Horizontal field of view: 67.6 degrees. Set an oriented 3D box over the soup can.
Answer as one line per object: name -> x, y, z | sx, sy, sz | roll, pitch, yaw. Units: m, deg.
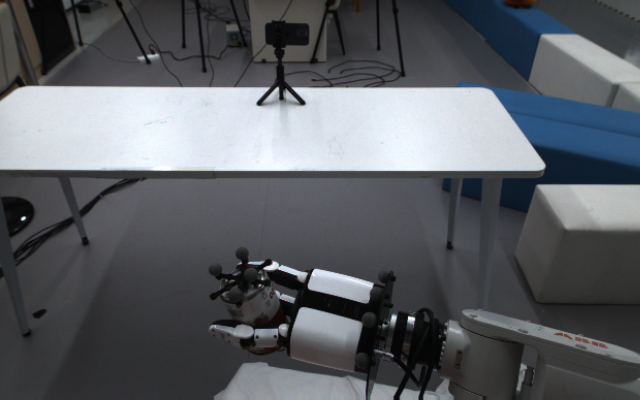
soup can -> -0.082, 0.147, 0.641 | 0.067, 0.101, 0.067 | -14, 31, 8
